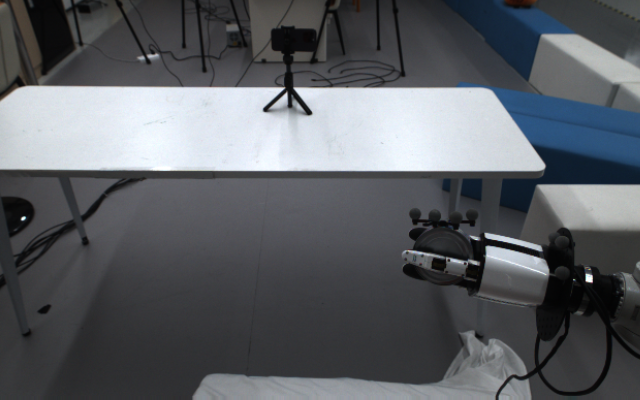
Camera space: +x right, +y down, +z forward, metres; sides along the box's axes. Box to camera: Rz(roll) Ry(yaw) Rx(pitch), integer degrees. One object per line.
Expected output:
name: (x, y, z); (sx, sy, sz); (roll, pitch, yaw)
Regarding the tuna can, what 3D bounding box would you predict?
tuna can: (0.180, 0.077, 0.703); (0.085, 0.085, 0.034); (15, 9, 18)
